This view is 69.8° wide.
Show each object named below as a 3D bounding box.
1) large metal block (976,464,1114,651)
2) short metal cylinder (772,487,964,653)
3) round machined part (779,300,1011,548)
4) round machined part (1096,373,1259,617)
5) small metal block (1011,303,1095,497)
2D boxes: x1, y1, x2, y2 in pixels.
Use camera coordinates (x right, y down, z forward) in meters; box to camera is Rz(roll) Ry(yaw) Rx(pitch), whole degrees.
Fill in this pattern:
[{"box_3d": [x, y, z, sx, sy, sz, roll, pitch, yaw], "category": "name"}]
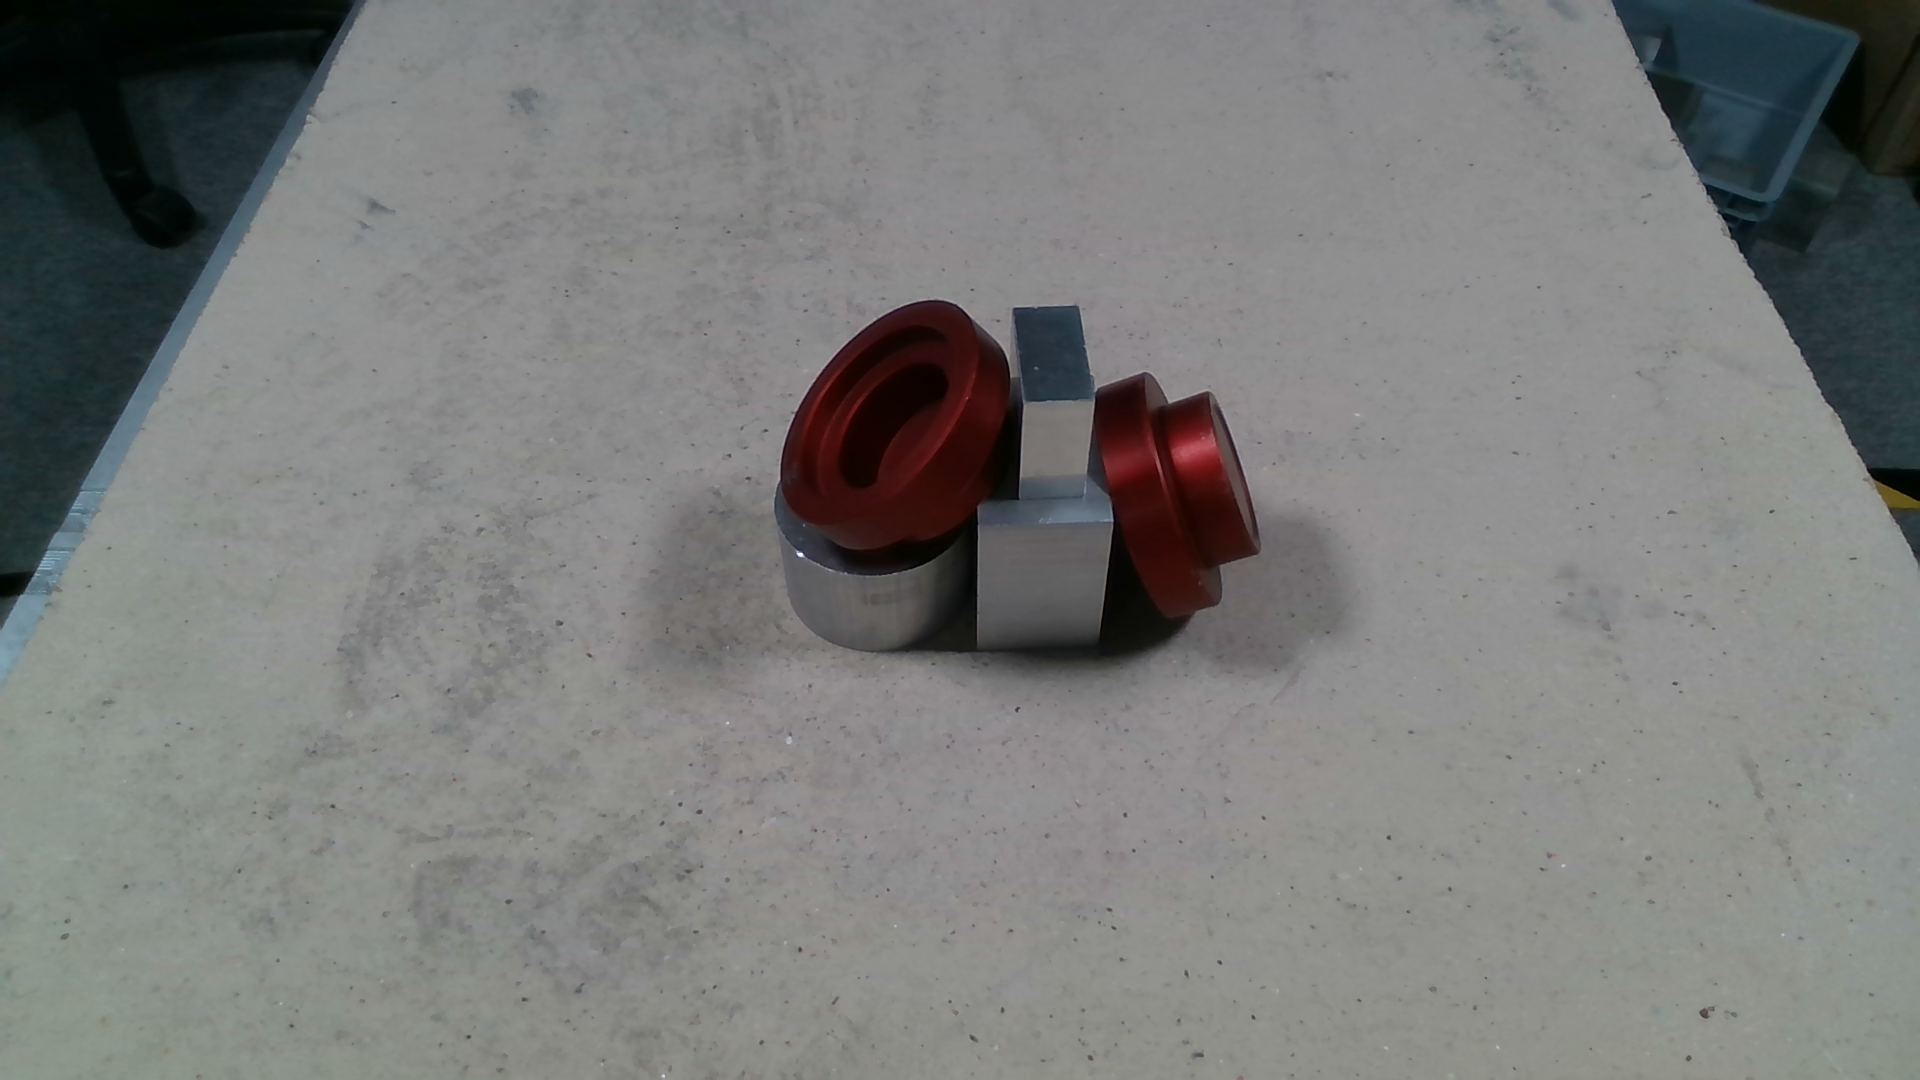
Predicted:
[{"box_3d": [0.030, -0.011, 0.560, 0.050, 0.080, 0.080, -2, 50, -1], "category": "large metal block"}, {"box_3d": [-0.035, 0.000, 0.572, 0.080, 0.050, 0.080, 0, 50, 0], "category": "short metal cylinder"}, {"box_3d": [-0.019, -0.039, 0.523, 0.098, 0.042, 0.098, -26, 44, 29], "category": "round machined part"}, {"box_3d": [0.090, -0.022, 0.553, 0.042, 0.098, 0.098, -18, 48, 17], "category": "round machined part"}, {"box_3d": [0.033, -0.052, 0.509, 0.025, 0.050, 0.050, -2, 50, -2], "category": "small metal block"}]
